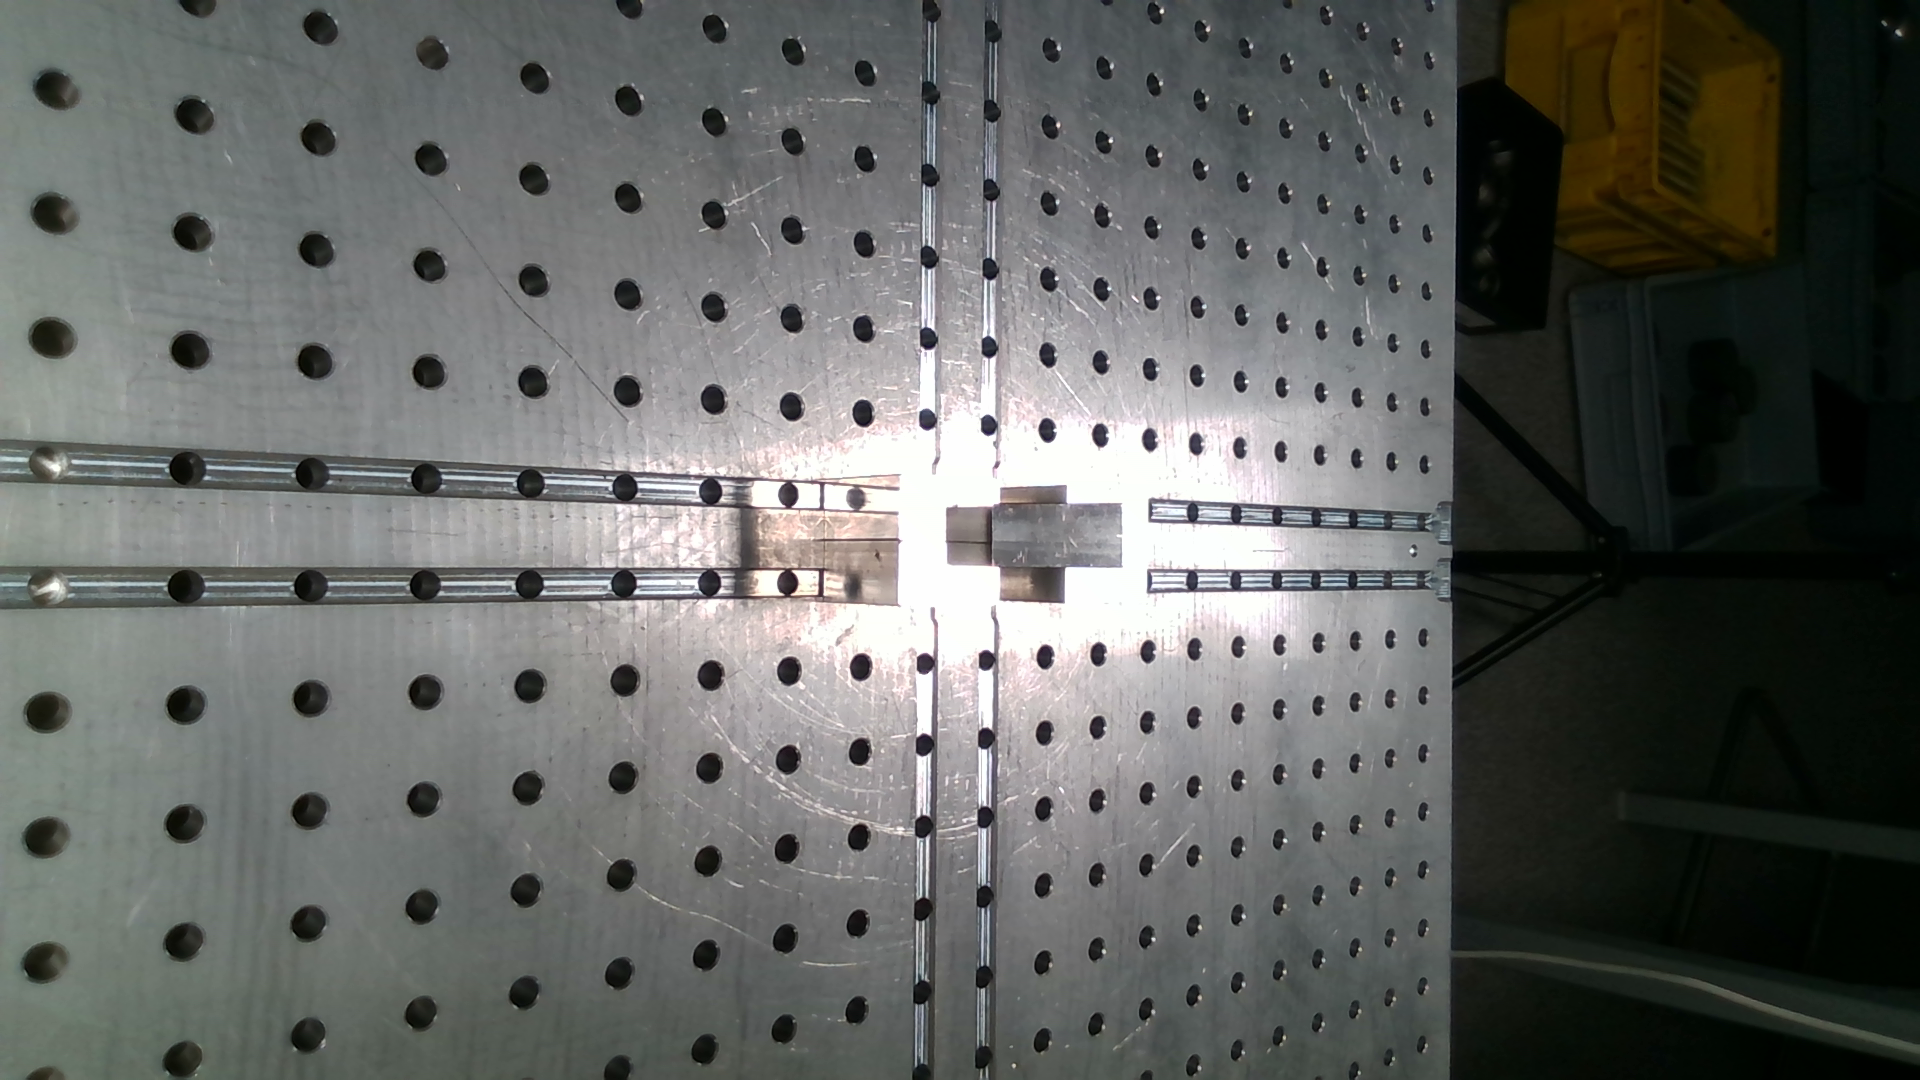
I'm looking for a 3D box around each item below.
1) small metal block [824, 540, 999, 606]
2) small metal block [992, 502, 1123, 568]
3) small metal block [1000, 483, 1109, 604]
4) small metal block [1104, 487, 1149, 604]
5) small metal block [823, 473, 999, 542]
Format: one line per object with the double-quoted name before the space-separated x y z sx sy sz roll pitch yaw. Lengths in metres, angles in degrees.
"small metal block" -0.020 0.013 0.552 0.050 0.050 0.025 2 89 -40
"small metal block" 0.040 -0.001 0.550 0.050 0.050 0.025 8 82 -83
"small metal block" 0.037 0.002 0.601 0.025 0.050 0.050 2 88 -40
"small metal block" 0.057 0.003 0.617 0.025 0.050 0.050 2 88 -40
"small metal block" -0.020 -0.012 0.553 0.050 0.050 0.025 2 89 -40
